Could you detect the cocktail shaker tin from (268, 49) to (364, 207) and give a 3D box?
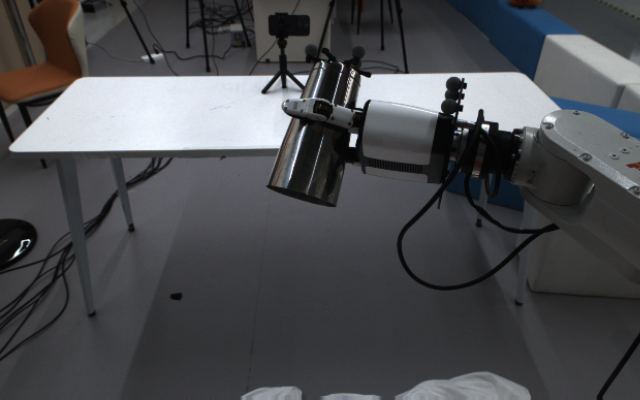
[{"bbox_3d":[-0.001,-0.086,0.619,0.093,0.170,0.093,16,-6,2],"label":"cocktail shaker tin"}]
